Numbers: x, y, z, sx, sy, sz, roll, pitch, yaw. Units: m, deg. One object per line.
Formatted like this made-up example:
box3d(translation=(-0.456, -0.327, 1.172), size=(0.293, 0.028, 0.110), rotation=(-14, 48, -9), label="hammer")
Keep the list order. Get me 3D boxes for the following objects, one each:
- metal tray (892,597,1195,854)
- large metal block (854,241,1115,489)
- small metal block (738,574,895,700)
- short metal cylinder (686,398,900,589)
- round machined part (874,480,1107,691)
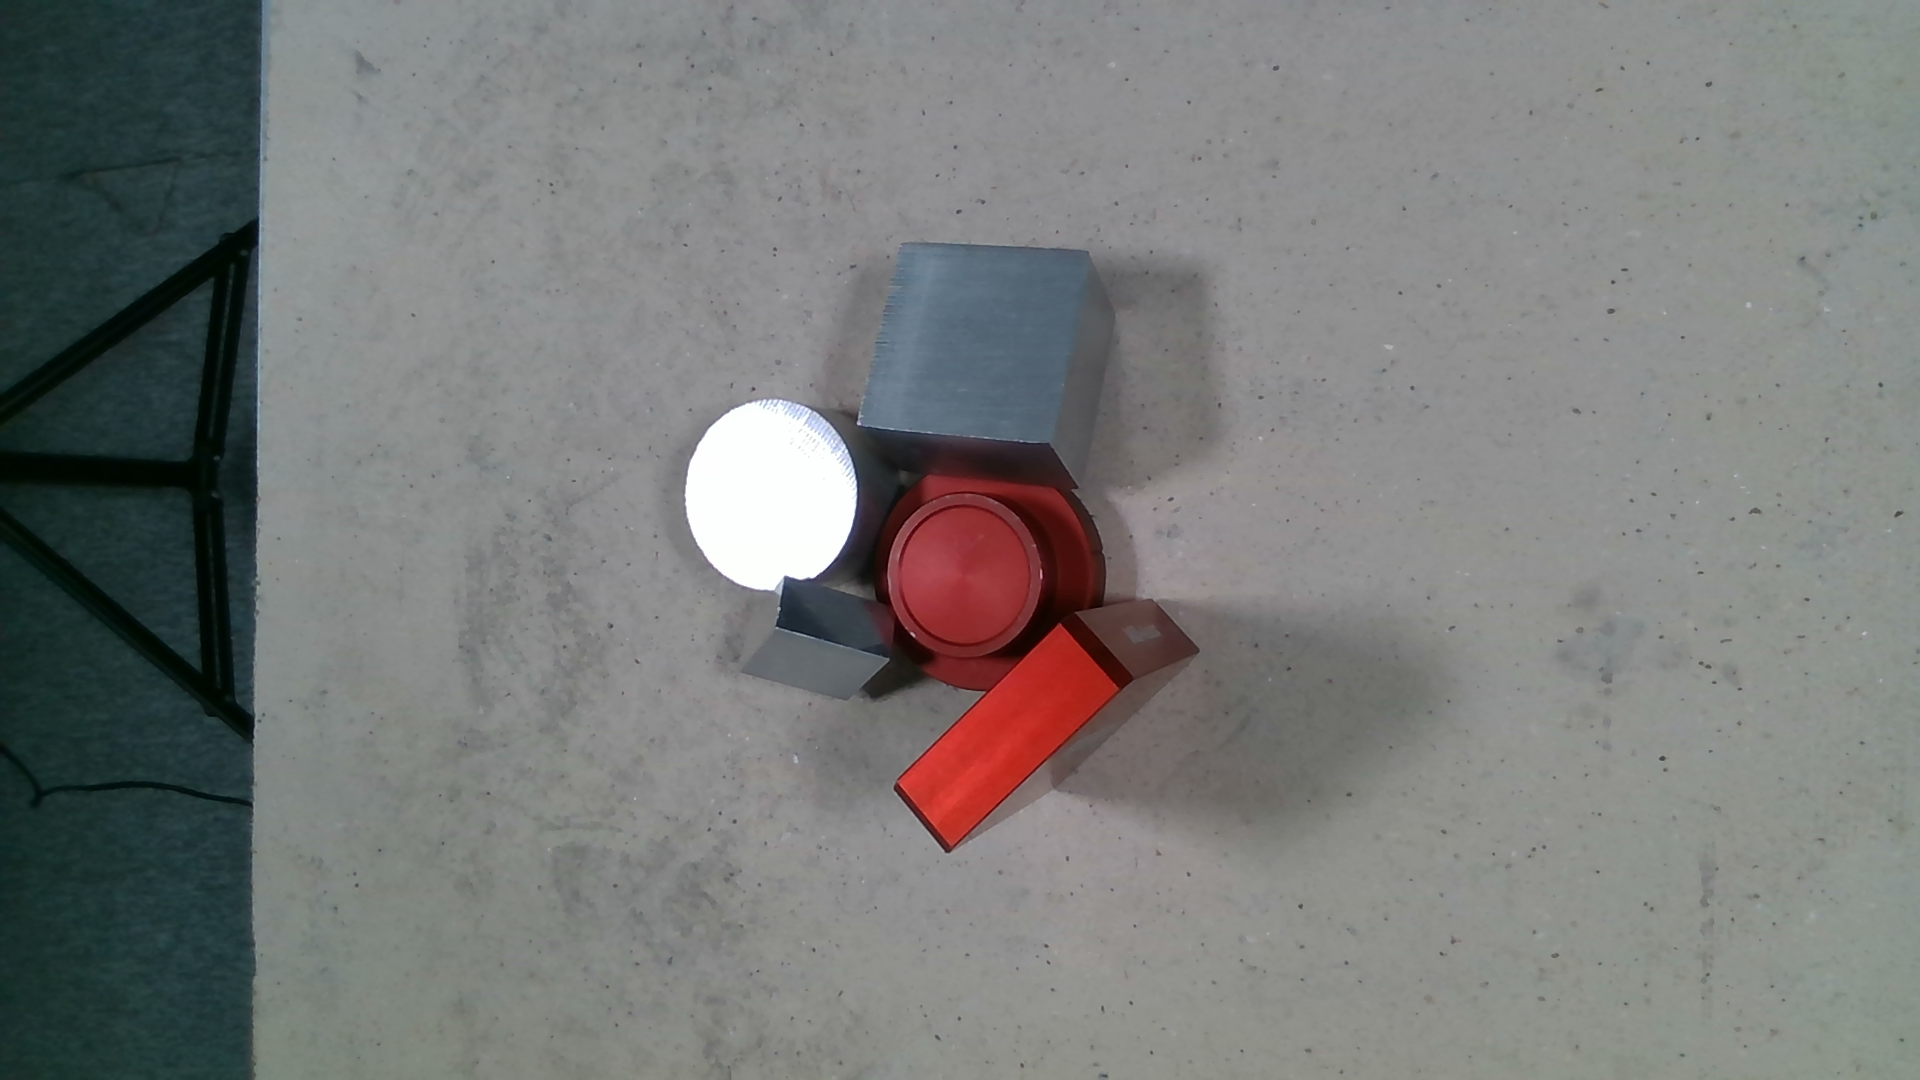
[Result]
box3d(translation=(0.036, 0.065, 0.516), size=(0.090, 0.130, 0.030), rotation=(-46, 76, 15), label="metal tray")
box3d(translation=(0.012, -0.070, 0.554), size=(0.080, 0.050, 0.080), rotation=(8, 76, 20), label="large metal block")
box3d(translation=(-0.061, 0.042, 0.584), size=(0.050, 0.050, 0.025), rotation=(135, 147, -53), label="small metal block")
box3d(translation=(-0.071, -0.019, 0.599), size=(0.080, 0.050, 0.080), rotation=(0, 90, 20), label="short metal cylinder")
box3d(translation=(0.009, 0.014, 0.574), size=(0.098, 0.042, 0.098), rotation=(0, 91, 20), label="round machined part")
